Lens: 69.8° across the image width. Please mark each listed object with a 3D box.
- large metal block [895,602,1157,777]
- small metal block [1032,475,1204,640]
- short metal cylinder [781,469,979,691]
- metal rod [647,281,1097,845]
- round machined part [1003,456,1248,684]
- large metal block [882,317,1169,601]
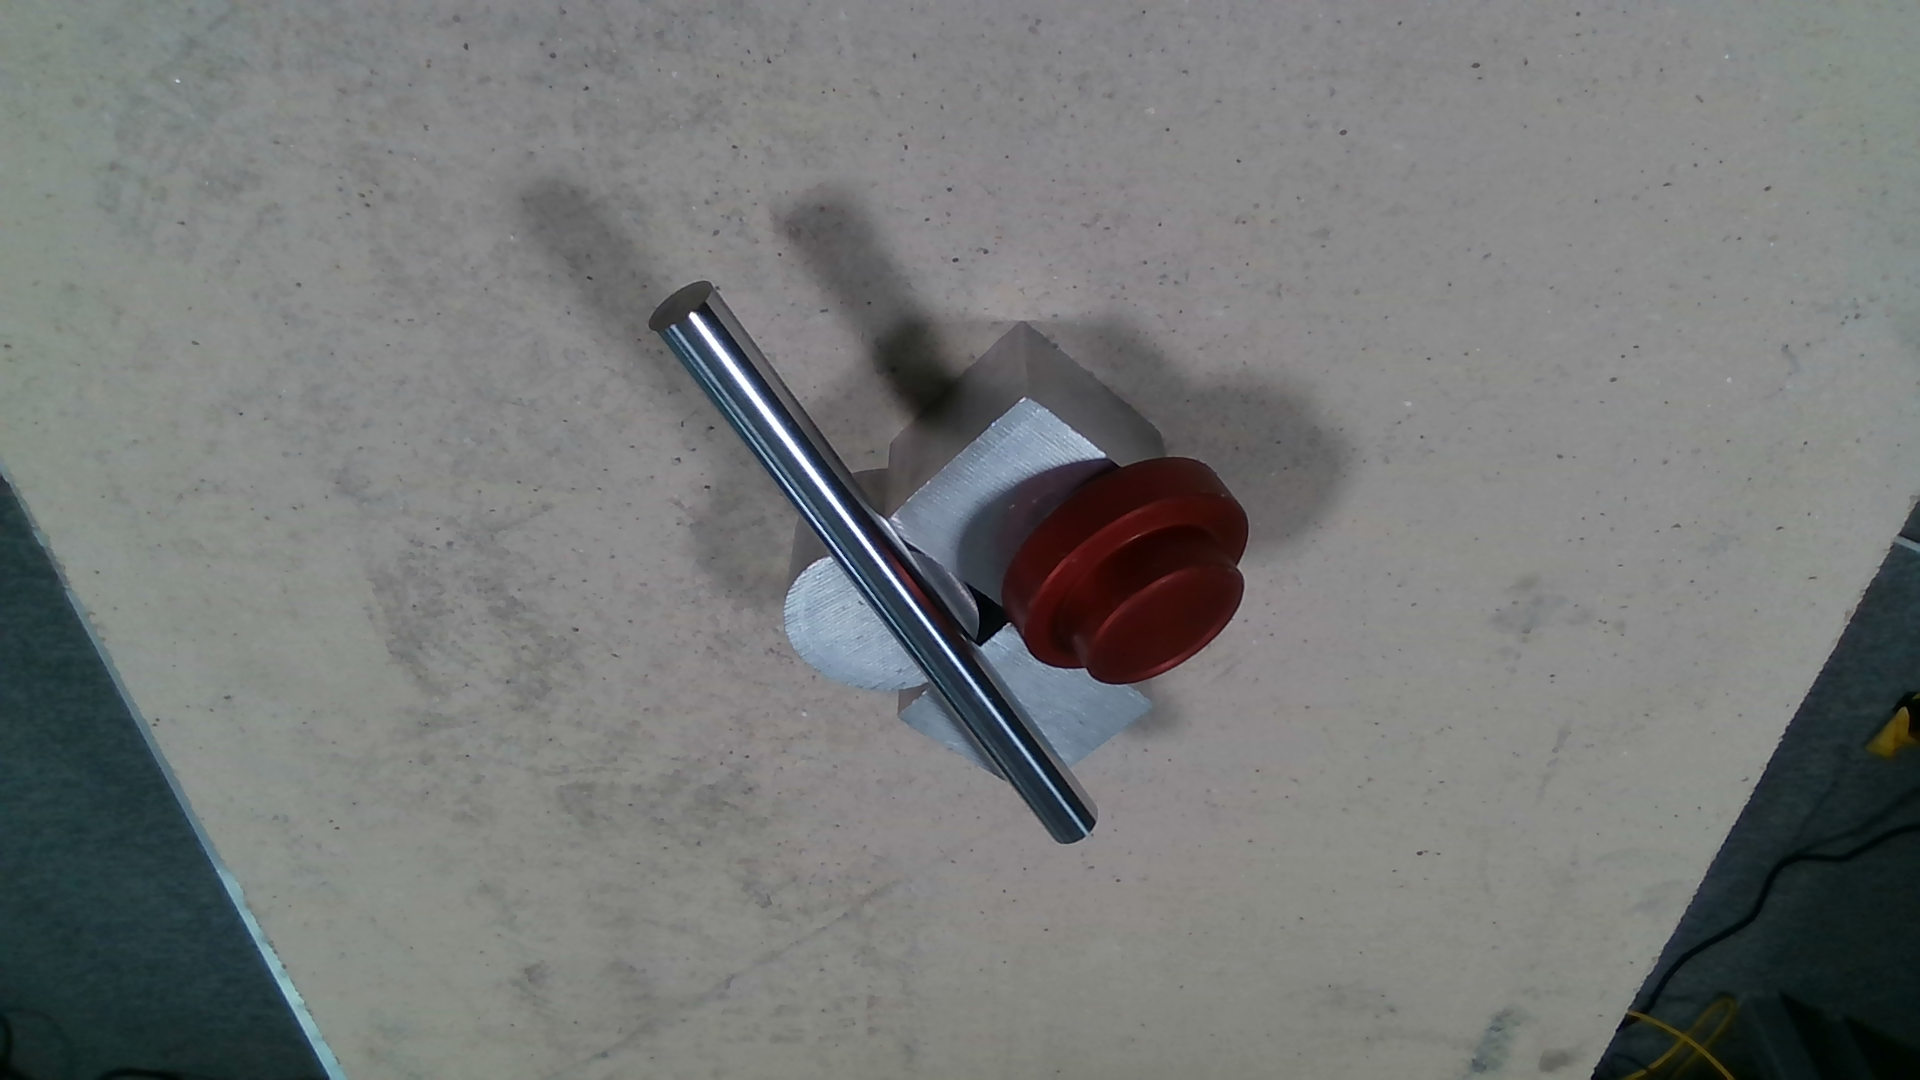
[{"bbox_3d":[0.028,0.057,0.611,0.080,0.050,0.080,34,122,-25],"label":"large metal block"},{"bbox_3d":[0.067,0.008,0.585,0.050,0.025,0.050,35,122,-26],"label":"small metal block"},{"bbox_3d":[-0.032,0.017,0.577,0.080,0.050,0.080,0,130,0],"label":"short metal cylinder"},{"bbox_3d":[-0.021,0.025,0.535,0.025,0.025,0.301,-22,126,18],"label":"metal rod"},{"bbox_3d":[0.068,0.018,0.526,0.098,0.042,0.098,-21,145,-15],"label":"round machined part"},{"bbox_3d":[0.027,-0.025,0.540,0.080,0.050,0.080,35,122,-26],"label":"large metal block"}]
